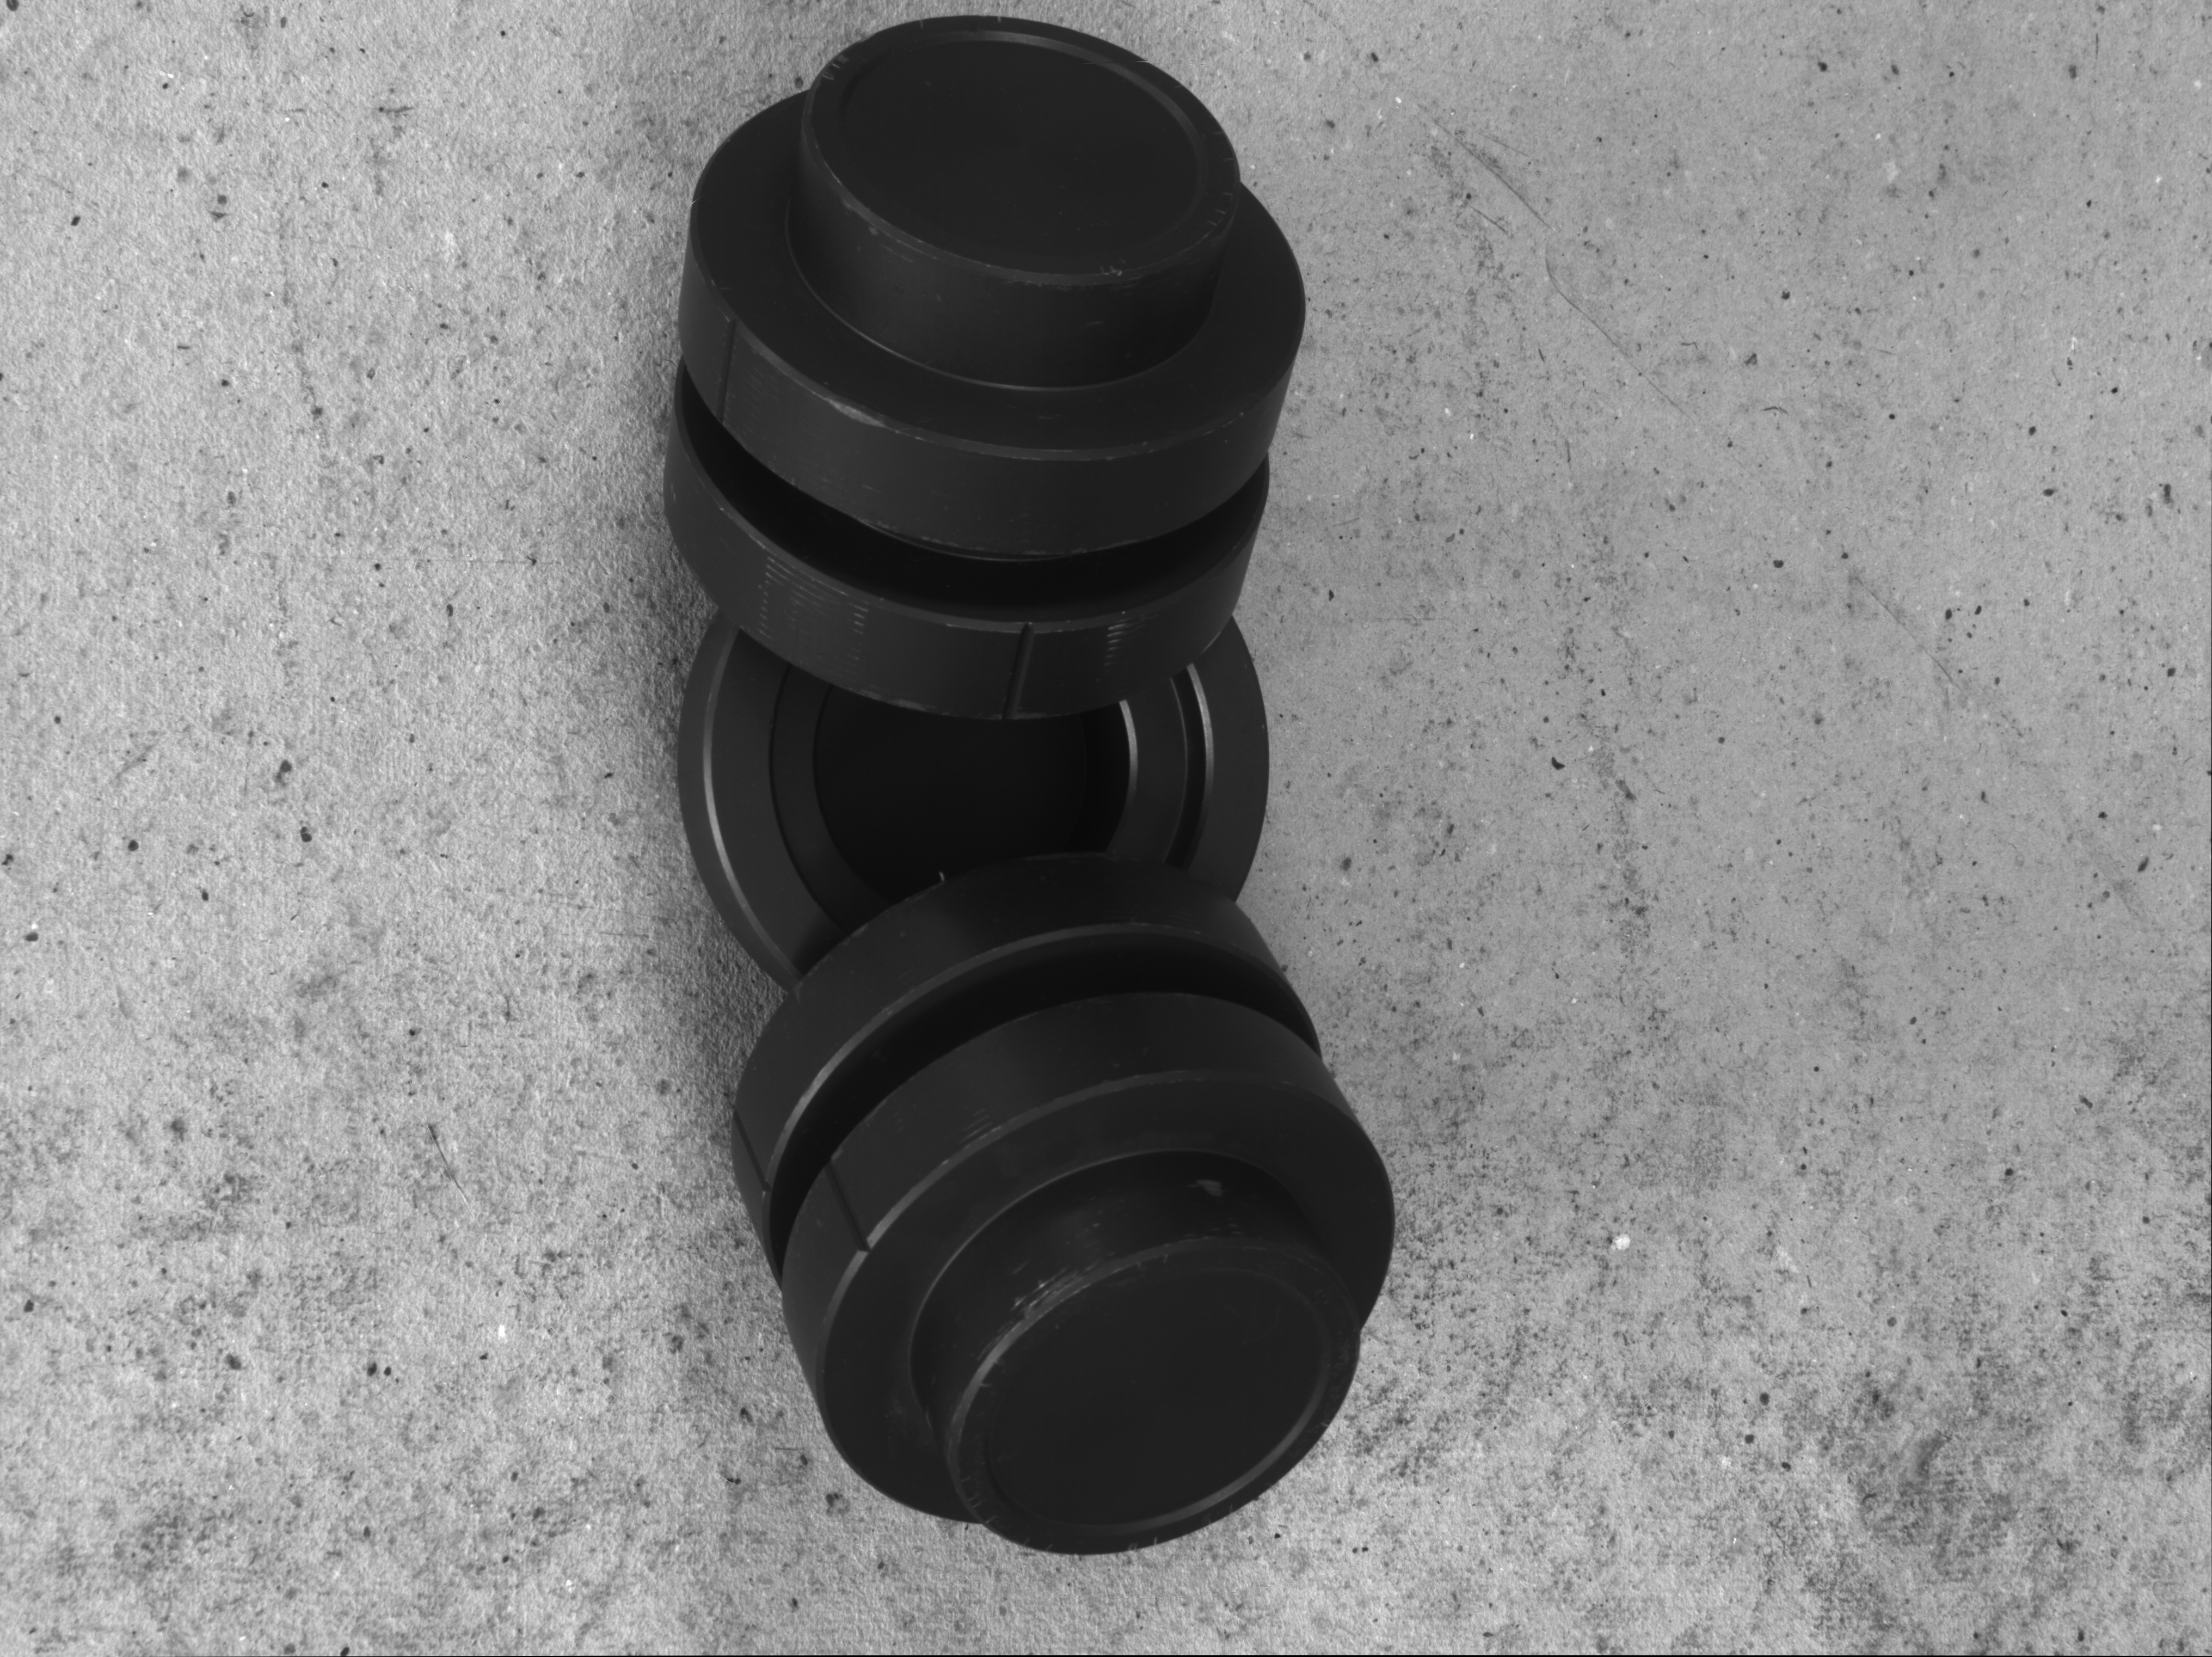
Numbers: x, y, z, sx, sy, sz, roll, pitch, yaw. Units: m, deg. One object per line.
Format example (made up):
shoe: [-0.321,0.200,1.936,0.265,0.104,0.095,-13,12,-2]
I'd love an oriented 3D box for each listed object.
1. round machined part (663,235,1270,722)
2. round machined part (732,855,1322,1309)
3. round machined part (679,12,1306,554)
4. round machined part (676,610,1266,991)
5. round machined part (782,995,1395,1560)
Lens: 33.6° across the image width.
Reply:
round machined part: [-0.021,-0.066,0.597,0.098,0.042,0.098,8,46,-8]
round machined part: [-0.009,0.056,0.604,0.098,0.042,0.098,-13,131,-15]
round machined part: [-0.016,-0.091,0.577,0.098,0.042,0.098,7,46,-8]
round machined part: [-0.026,-0.012,0.626,0.098,0.042,0.098,0,90,-20]
round machined part: [0.001,0.077,0.583,0.098,0.042,0.098,-13,130,-16]
